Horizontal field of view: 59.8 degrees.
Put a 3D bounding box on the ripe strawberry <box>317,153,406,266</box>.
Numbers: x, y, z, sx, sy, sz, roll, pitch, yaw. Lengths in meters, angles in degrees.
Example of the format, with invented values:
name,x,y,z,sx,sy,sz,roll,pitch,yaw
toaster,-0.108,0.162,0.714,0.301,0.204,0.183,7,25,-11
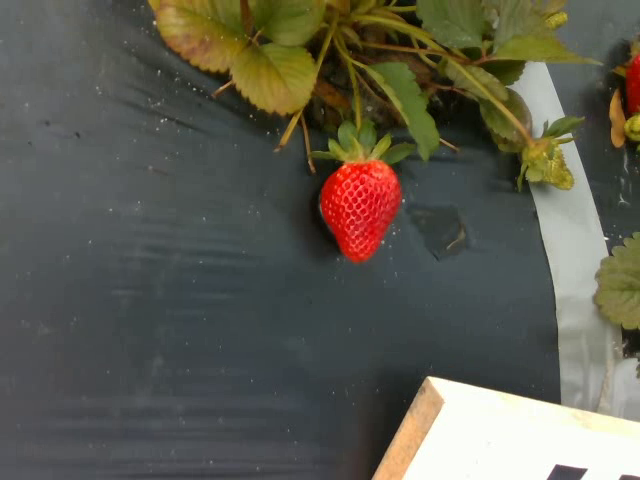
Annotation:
name,x,y,z,sx,sy,sz,roll,pitch,yaw
ripe strawberry,0.018,-0.013,0.219,0.036,0.046,0.040,6,-25,-4
